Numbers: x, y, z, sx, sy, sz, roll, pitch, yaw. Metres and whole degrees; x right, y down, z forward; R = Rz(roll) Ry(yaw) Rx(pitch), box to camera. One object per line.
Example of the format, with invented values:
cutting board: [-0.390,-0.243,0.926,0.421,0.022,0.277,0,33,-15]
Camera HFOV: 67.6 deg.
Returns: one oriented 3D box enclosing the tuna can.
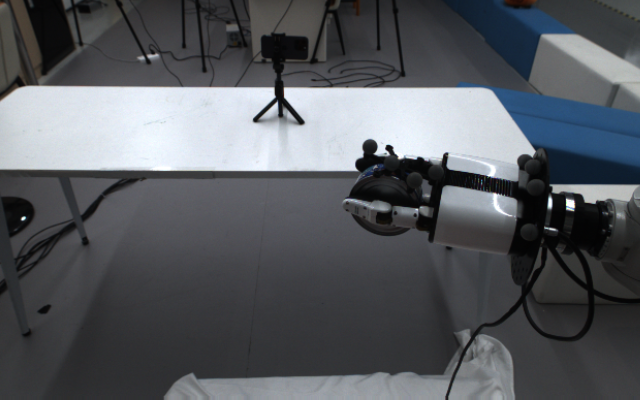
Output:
tuna can: [0.081,-0.003,0.586,0.085,0.085,0.034,12,33,14]
